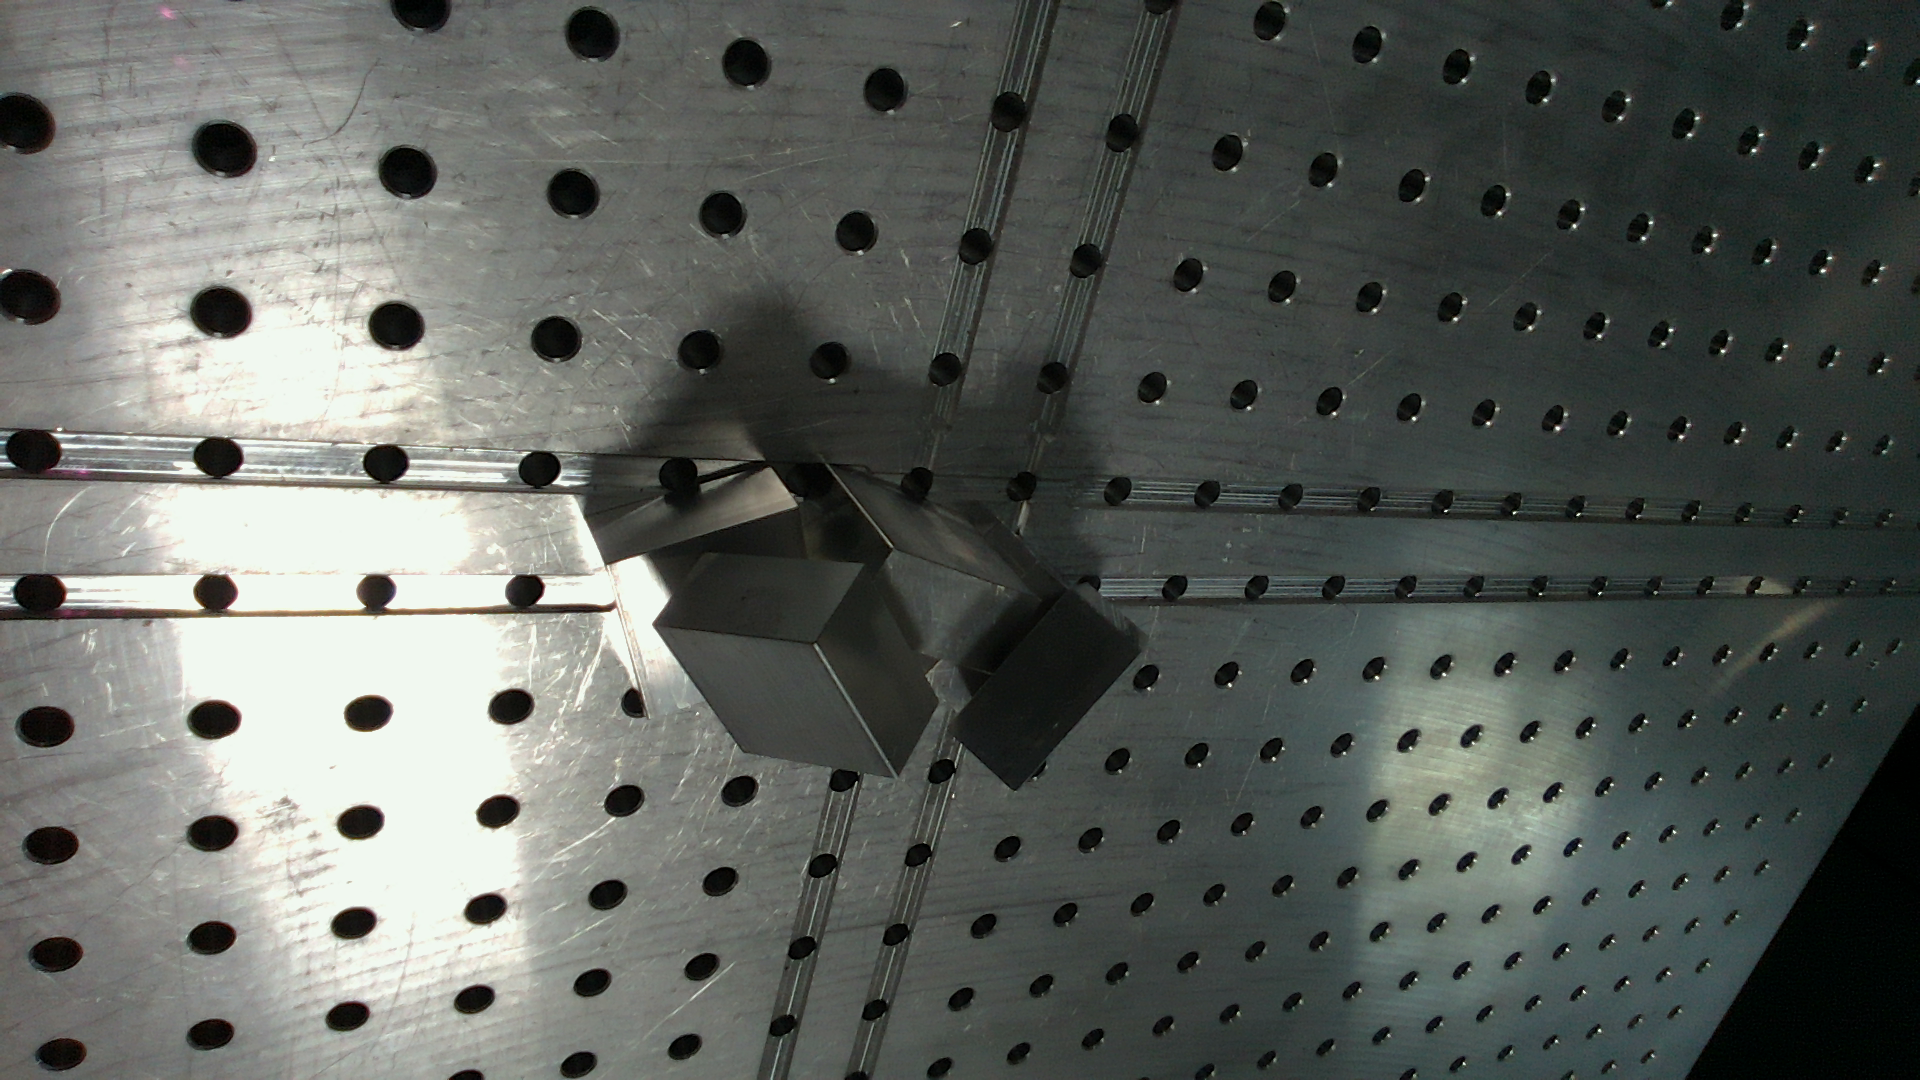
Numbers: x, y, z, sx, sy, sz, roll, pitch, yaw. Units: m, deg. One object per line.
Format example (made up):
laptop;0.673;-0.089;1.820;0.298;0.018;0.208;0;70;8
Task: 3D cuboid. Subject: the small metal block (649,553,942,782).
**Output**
small metal block;-0.039;0.031;0.338;0.025;0.050;0.050;-60;140;-36

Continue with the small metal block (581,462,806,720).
small metal block;-0.067;0.013;0.364;0.050;0.025;0.050;-18;126;-18

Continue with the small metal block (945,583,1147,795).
small metal block;0.026;0.039;0.380;0.050;0.025;0.050;-50;173;6

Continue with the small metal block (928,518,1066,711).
small metal block;0.014;0.030;0.419;0.050;0.025;0.050;-46;129;4

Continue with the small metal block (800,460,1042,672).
small metal block;-0.014;0.008;0.373;0.050;0.050;0.025;20;108;-36
